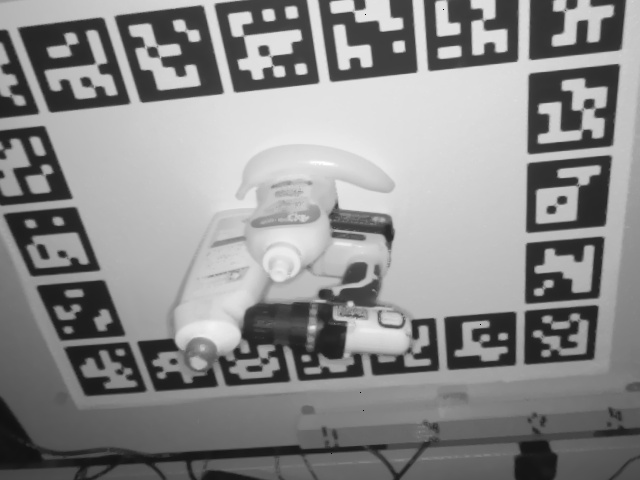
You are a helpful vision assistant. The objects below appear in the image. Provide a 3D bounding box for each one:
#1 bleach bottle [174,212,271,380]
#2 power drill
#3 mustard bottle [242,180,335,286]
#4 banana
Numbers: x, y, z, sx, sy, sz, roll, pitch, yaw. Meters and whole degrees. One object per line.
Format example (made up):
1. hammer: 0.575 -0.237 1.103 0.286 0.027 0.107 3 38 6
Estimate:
1. bleach bottle: -0.101 0.061 0.797 0.102 0.253 0.067 -2 124 5
2. power drill: 0.010 0.062 0.795 0.185 0.189 0.057 7 120 2
3. mustard bottle: -0.037 -0.006 0.784 0.096 0.193 0.058 -4 118 7
4. banana: -0.014 -0.075 0.843 0.197 0.039 0.073 -1 117 1
